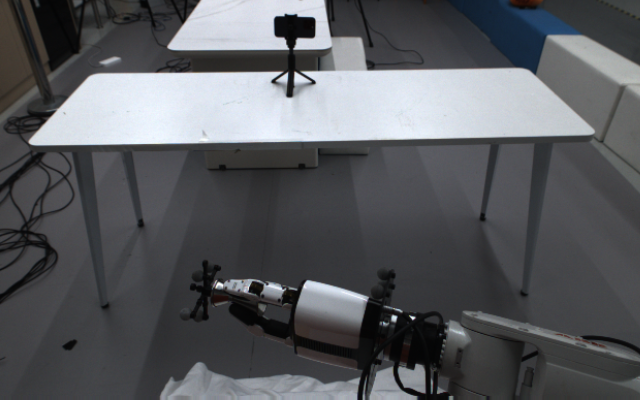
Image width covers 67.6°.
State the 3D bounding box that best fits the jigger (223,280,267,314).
[{"bbox_3d":[-0.101,0.127,0.653,0.071,0.043,0.043,6,35,12],"label":"jigger"}]
